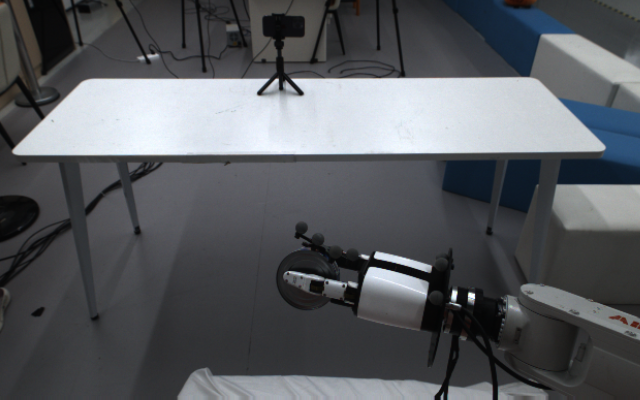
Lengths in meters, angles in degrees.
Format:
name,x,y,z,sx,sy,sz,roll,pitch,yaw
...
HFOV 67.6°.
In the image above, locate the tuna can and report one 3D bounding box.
name,x,y,z,sx,sy,sz,roll,pitch,yaw
tuna can,-0.014,0.109,0.678,0.085,0.085,0.034,10,5,11
